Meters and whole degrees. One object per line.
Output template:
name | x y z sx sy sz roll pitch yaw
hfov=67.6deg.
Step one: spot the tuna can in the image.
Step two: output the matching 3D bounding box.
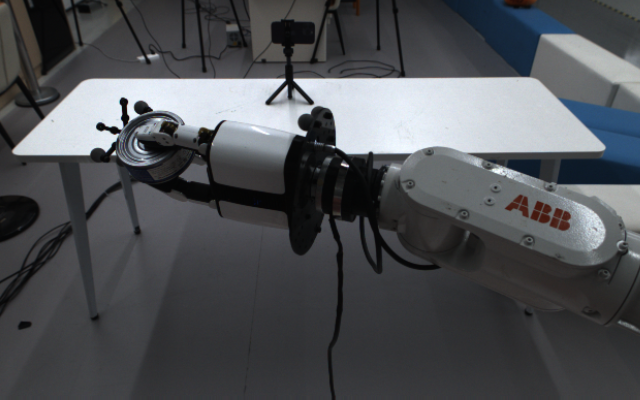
tuna can | -0.191 -0.064 0.568 0.085 0.034 0.085 -3 60 6
